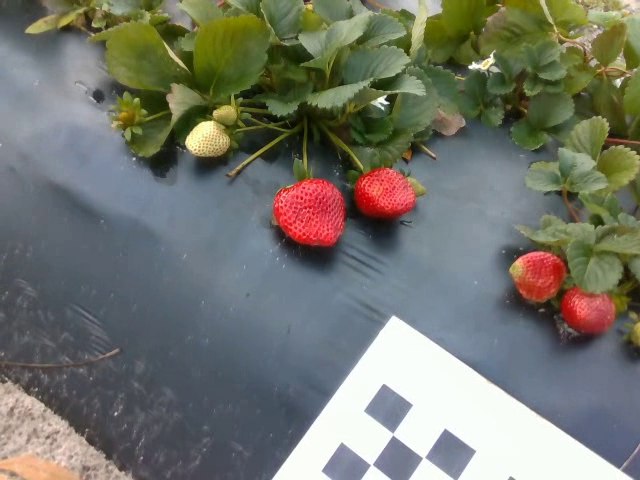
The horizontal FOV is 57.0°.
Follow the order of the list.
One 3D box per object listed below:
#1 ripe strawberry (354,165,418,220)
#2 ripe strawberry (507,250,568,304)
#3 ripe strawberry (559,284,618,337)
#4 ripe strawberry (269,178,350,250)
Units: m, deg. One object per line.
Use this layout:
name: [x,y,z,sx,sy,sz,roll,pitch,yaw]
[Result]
ripe strawberry: [0.053,-0.035,0.468,0.050,0.051,0.060,-32,23,4]
ripe strawberry: [0.156,0.026,0.435,0.053,0.047,0.038,18,-9,-20]
ripe strawberry: [0.186,0.048,0.412,0.043,0.041,0.049,29,17,16]
ripe strawberry: [-0.006,-0.018,0.444,0.058,0.065,0.044,-27,-35,5]
